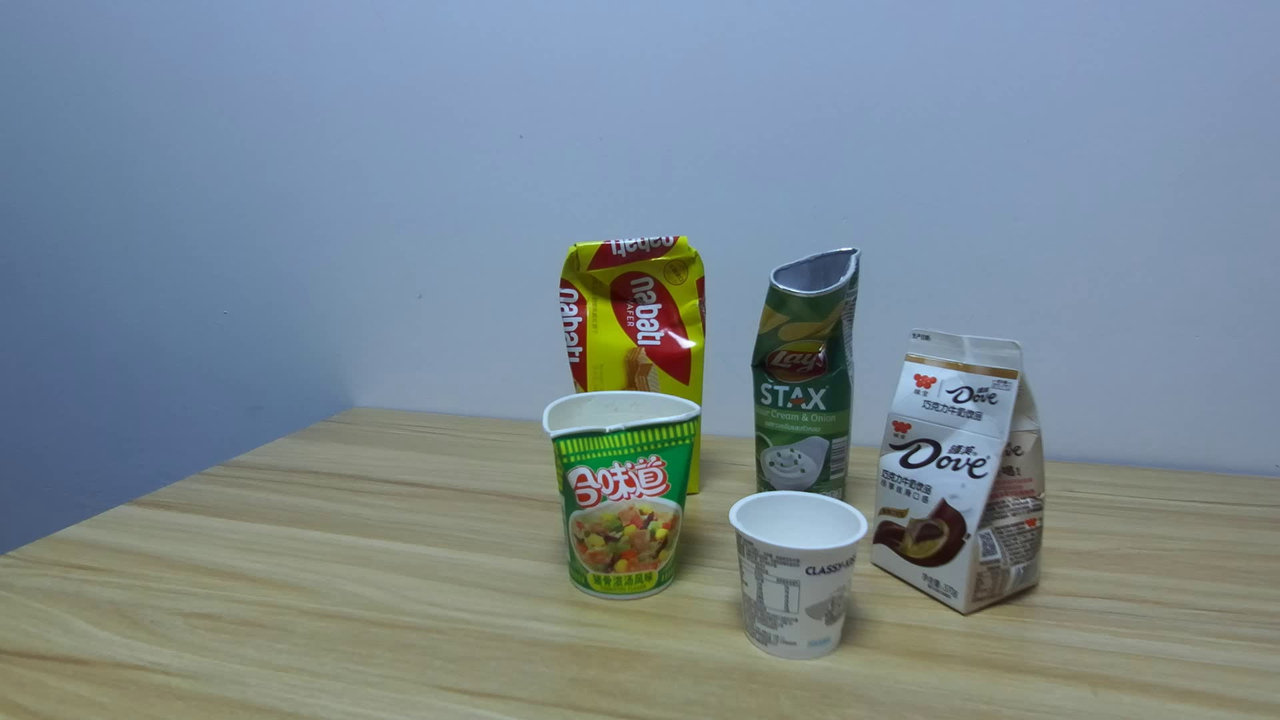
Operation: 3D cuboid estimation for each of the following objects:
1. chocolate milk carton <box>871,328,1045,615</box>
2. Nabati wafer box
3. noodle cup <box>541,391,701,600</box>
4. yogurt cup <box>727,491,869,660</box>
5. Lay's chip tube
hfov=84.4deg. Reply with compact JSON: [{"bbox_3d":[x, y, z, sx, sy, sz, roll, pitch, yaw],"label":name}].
[{"bbox_3d":[0.199,0.061,0.430,0.073,0.155,0.084,-7,14,-28],"label":"chocolate milk carton"},{"bbox_3d":[-0.001,0.009,0.558,0.113,0.205,0.042,-5,14,-12],"label":"Nabati wafer box"},{"bbox_3d":[-0.010,0.082,0.443,0.094,0.109,0.087,0,13,1],"label":"noodle cup"},{"bbox_3d":[0.083,0.115,0.378,0.072,0.068,0.072,-1,14,1],"label":"yogurt cup"},{"bbox_3d":[0.123,0.022,0.514,0.079,0.199,0.071,-2,21,-2],"label":"Lay's chip tube"}]
